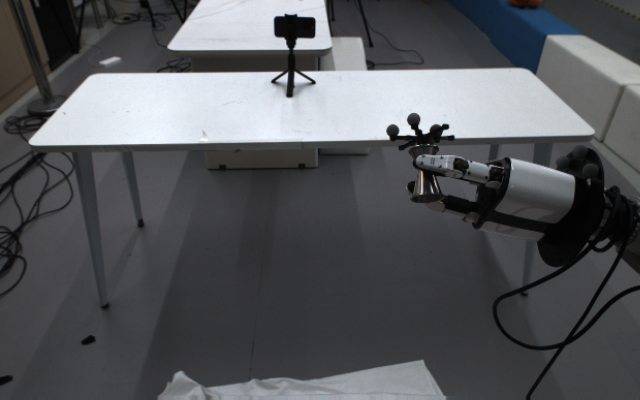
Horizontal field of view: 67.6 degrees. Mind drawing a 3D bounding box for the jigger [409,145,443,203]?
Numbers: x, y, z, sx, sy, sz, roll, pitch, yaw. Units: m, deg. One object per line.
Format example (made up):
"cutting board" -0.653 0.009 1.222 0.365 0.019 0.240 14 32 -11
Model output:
"jigger" 0.139 -0.037 0.634 0.043 0.043 0.071 0 75 -3
